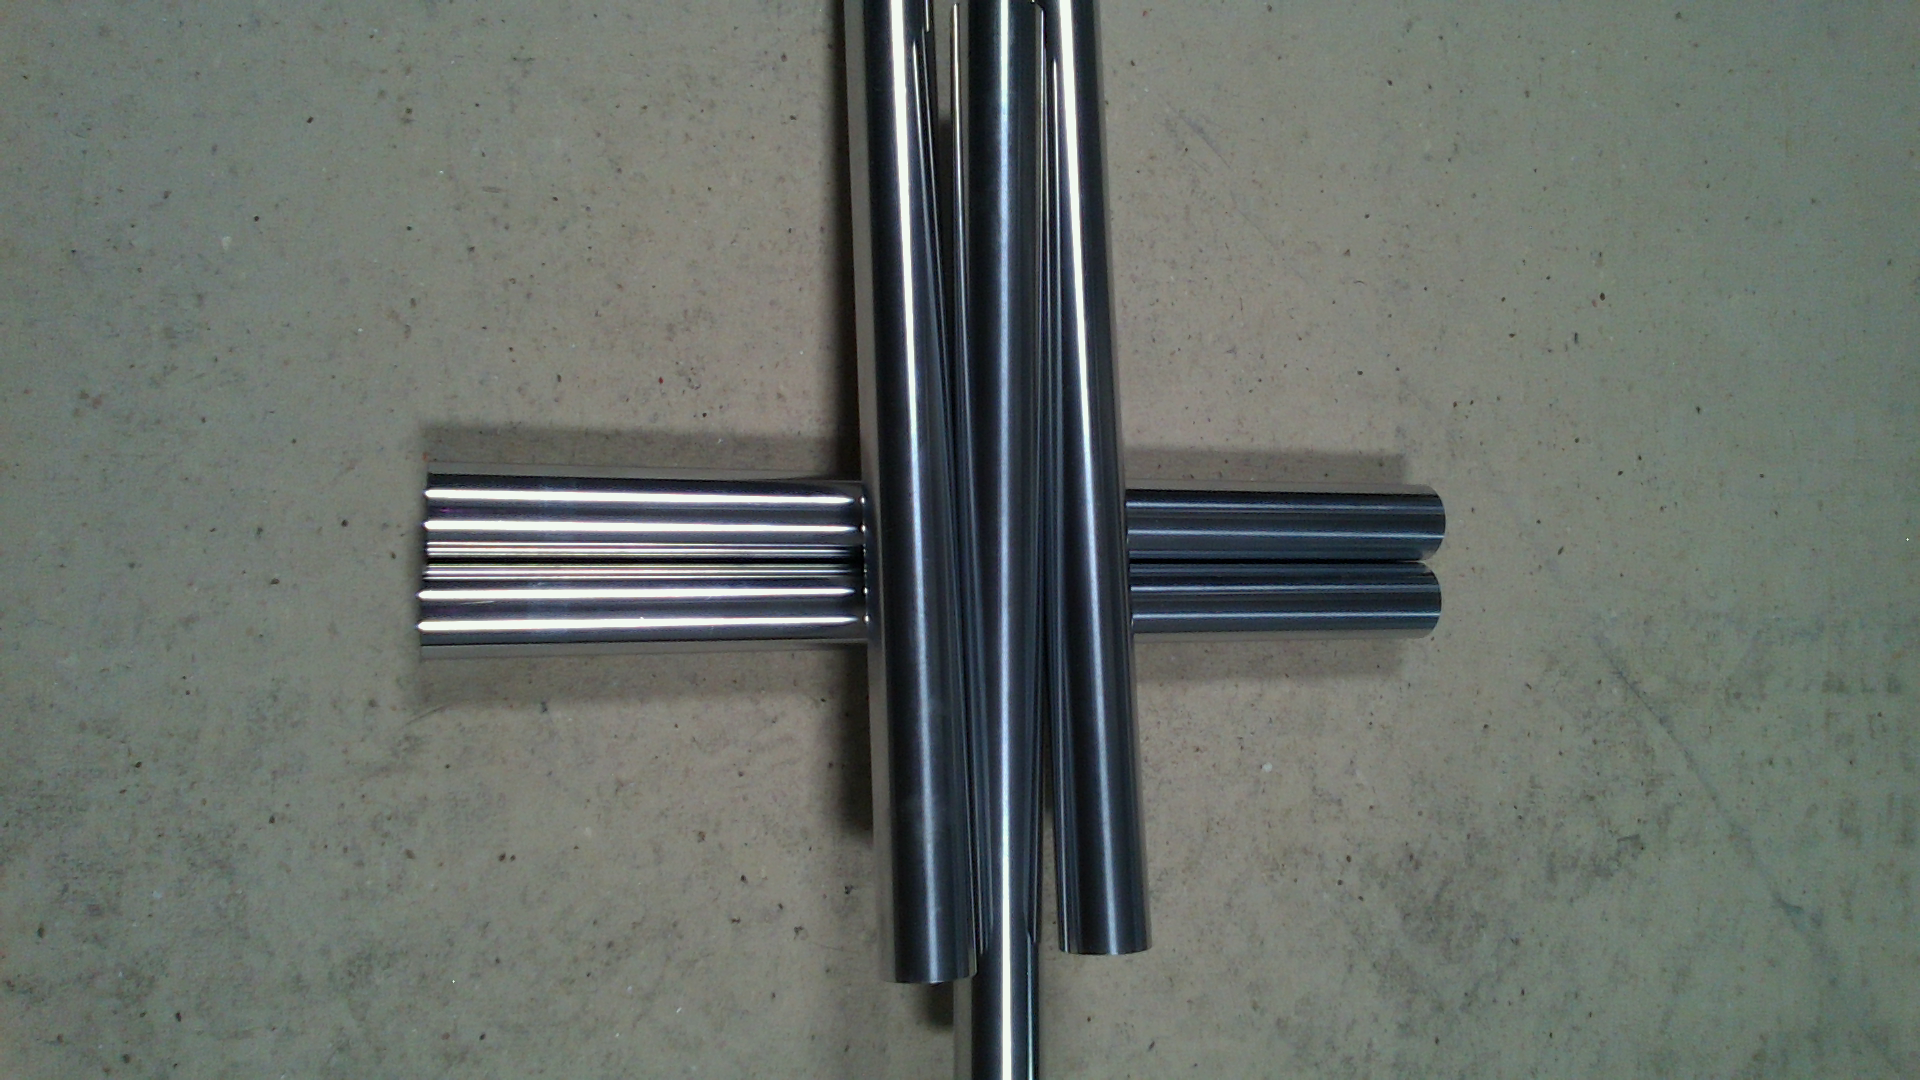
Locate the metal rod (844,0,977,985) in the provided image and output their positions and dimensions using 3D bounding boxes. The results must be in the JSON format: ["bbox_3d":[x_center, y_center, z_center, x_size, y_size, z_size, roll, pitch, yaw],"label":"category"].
[{"bbox_3d":[-0.015,-0.039,0.366,0.025,0.025,0.300,0,82,-20],"label":"metal rod"}]

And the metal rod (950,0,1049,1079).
[{"bbox_3d":[0.011,0.008,0.370,0.025,0.025,0.300,0,90,-20],"label":"metal rod"}]

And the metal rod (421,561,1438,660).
[{"bbox_3d":[0.006,0.018,0.397,0.301,0.025,0.025,0,90,-20],"label":"metal rod"}]

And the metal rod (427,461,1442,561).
[{"bbox_3d":[0.008,-0.007,0.397,0.301,0.025,0.025,0,90,-20],"label":"metal rod"}]

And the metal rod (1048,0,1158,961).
[{"bbox_3d":[0.033,-0.040,0.383,0.025,0.025,0.300,0,82,-20],"label":"metal rod"}]
